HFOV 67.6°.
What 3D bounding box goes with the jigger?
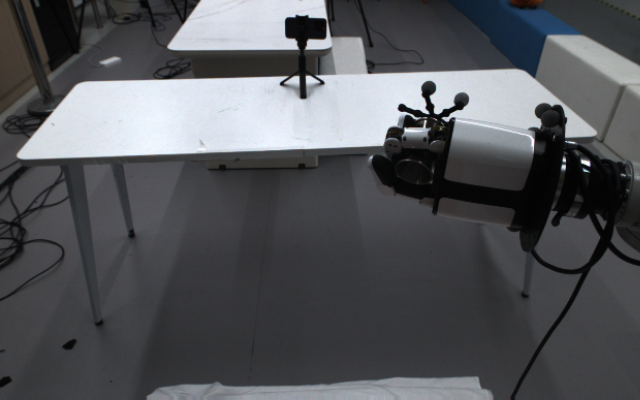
[{"bbox_3d":[0.118,-0.060,0.555,0.043,0.043,0.071,15,59,18],"label":"jigger"}]
